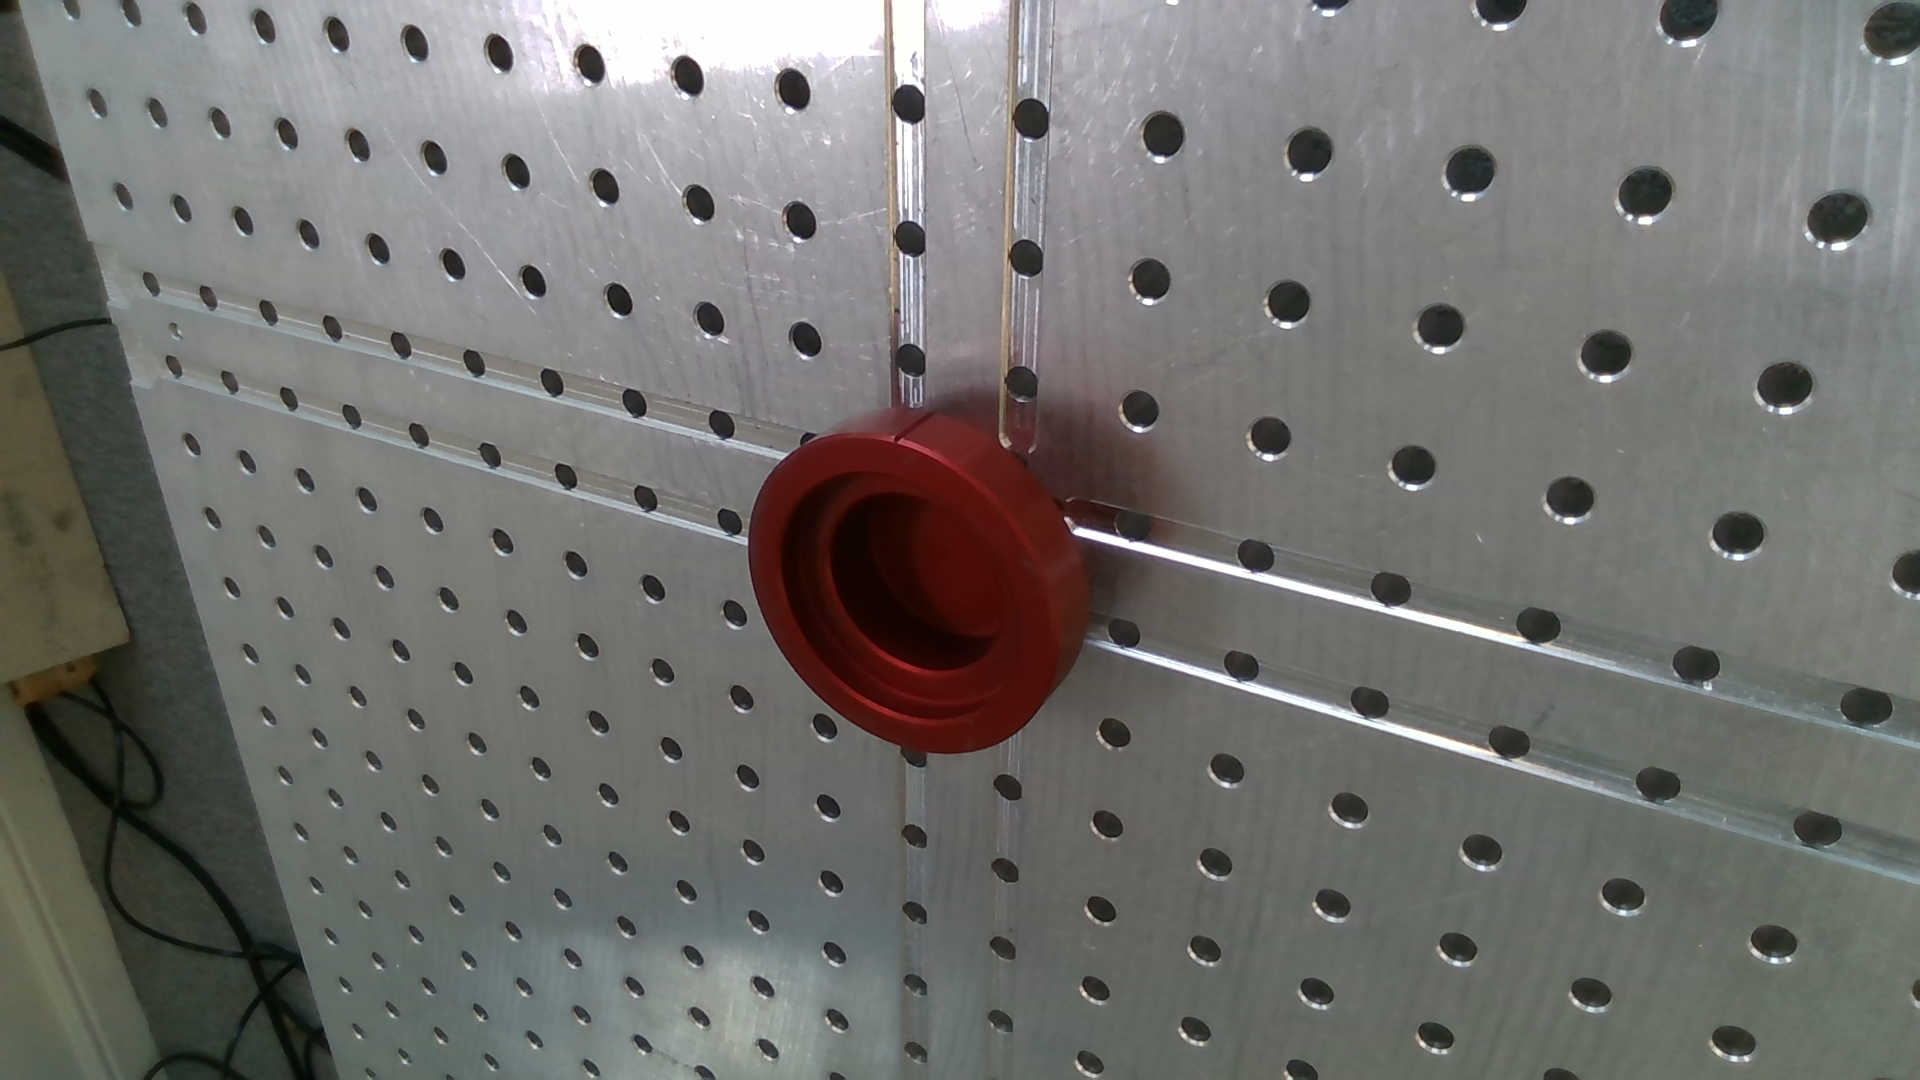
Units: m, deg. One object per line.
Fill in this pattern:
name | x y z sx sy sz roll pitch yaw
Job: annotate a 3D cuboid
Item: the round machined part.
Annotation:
round machined part | -0.009 0.008 0.389 0.098 0.042 0.098 14 122 25
